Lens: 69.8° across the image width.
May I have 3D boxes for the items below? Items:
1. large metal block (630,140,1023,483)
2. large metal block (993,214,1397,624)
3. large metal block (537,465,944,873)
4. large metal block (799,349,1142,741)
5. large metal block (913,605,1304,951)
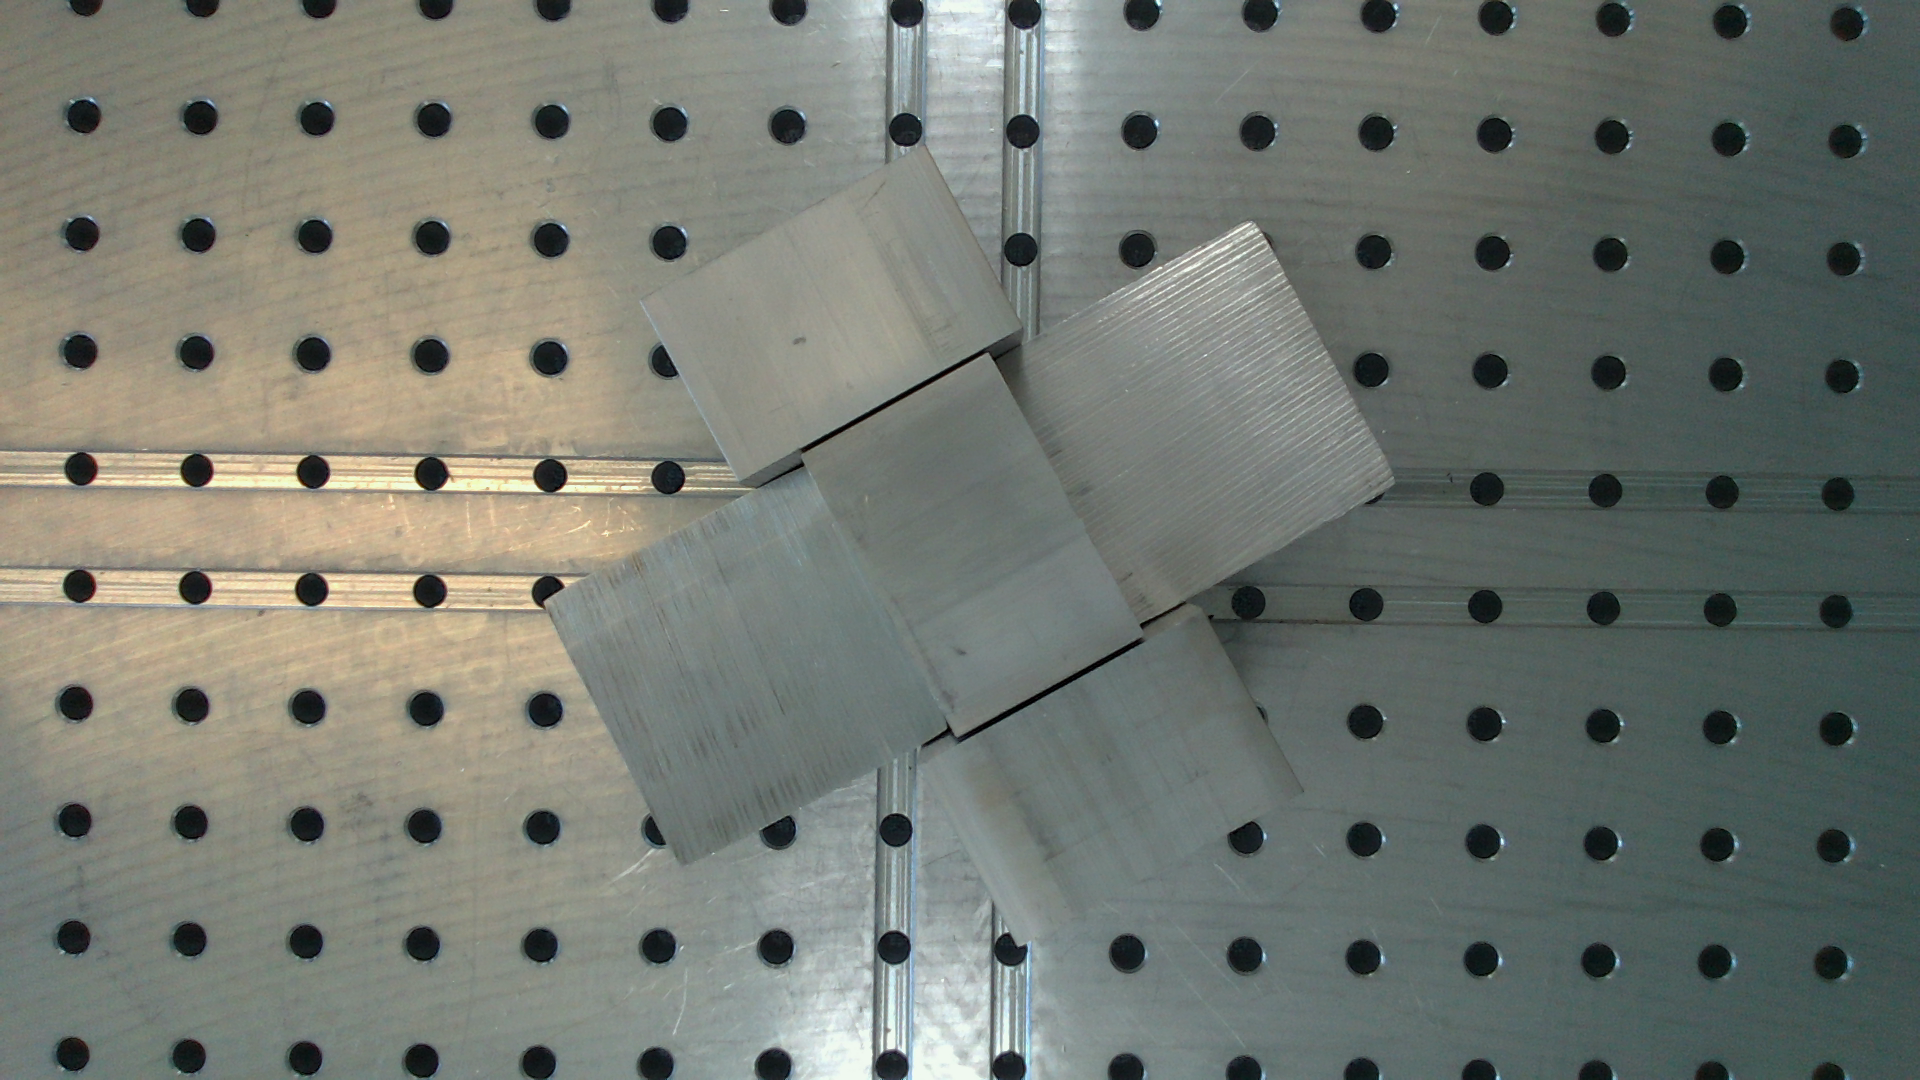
[{"bbox_3d":[-0.032,-0.055,0.369,0.080,0.080,0.050,-28,90,0],"label":"large metal block"},{"bbox_3d":[0.060,-0.032,0.385,0.080,0.050,0.080,-29,92,0],"label":"large metal block"},{"bbox_3d":[-0.057,0.034,0.386,0.080,0.050,0.080,-27,90,0],"label":"large metal block"},{"bbox_3d":[0.003,0.001,0.370,0.050,0.080,0.080,-29,90,0],"label":"large metal block"},{"bbox_3d":[0.036,0.057,0.370,0.080,0.080,0.050,-29,90,-1],"label":"large metal block"}]
